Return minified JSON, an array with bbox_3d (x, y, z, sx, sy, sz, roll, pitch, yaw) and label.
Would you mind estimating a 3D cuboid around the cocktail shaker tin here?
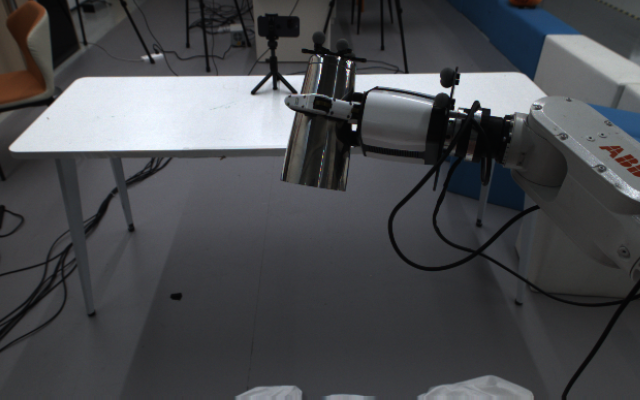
[{"bbox_3d":[0.005,-0.103,0.657,0.093,0.170,0.093,9,3,0],"label":"cocktail shaker tin"}]
